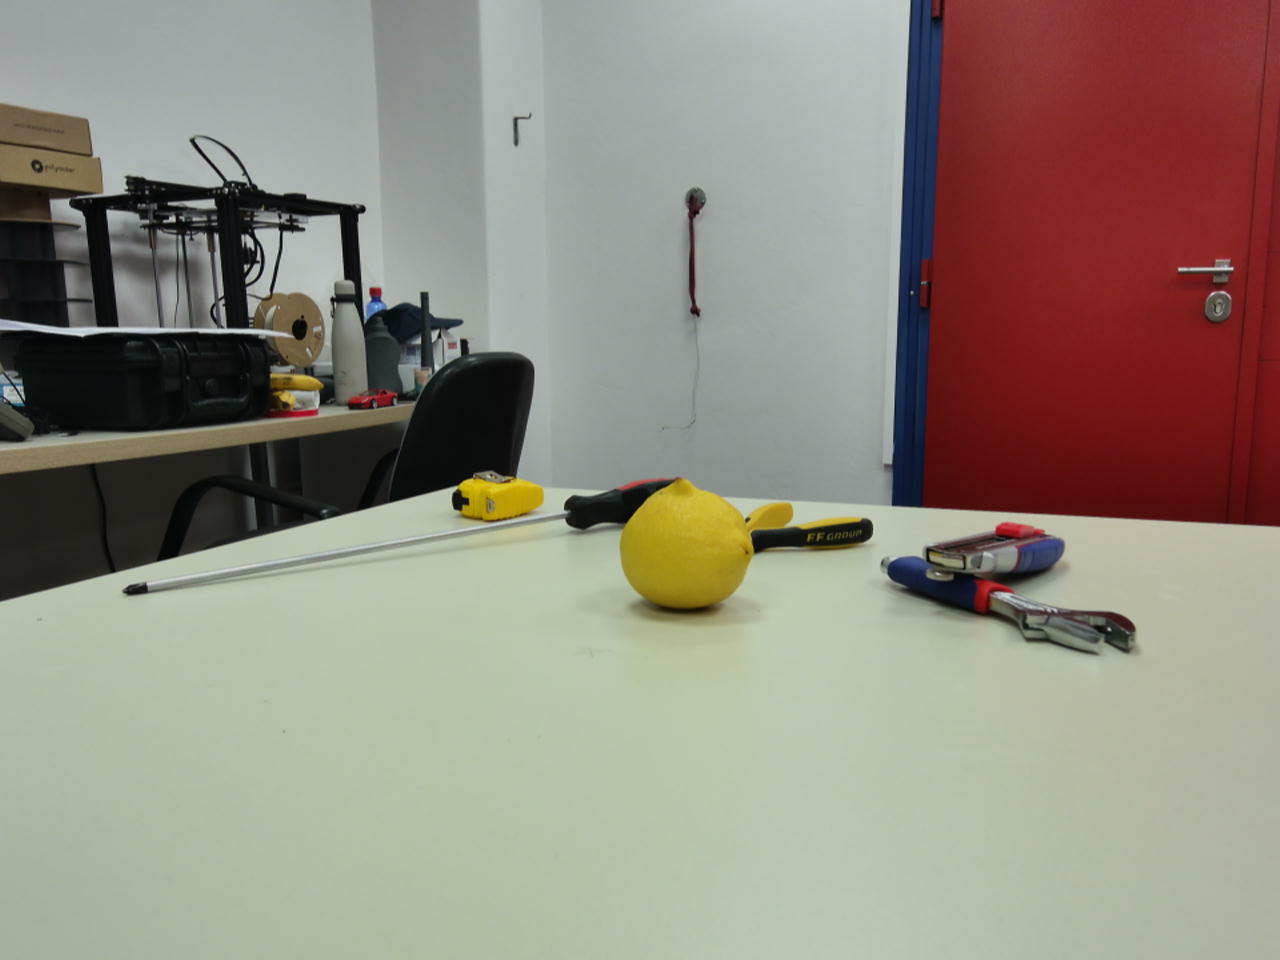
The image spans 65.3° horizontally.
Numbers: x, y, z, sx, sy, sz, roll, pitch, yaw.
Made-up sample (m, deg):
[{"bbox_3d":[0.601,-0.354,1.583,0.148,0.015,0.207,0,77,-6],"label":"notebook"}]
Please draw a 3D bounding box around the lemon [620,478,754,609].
[{"bbox_3d":[0.025,0.034,0.547,0.070,0.071,0.071,-1,6,-10],"label":"lemon"}]
